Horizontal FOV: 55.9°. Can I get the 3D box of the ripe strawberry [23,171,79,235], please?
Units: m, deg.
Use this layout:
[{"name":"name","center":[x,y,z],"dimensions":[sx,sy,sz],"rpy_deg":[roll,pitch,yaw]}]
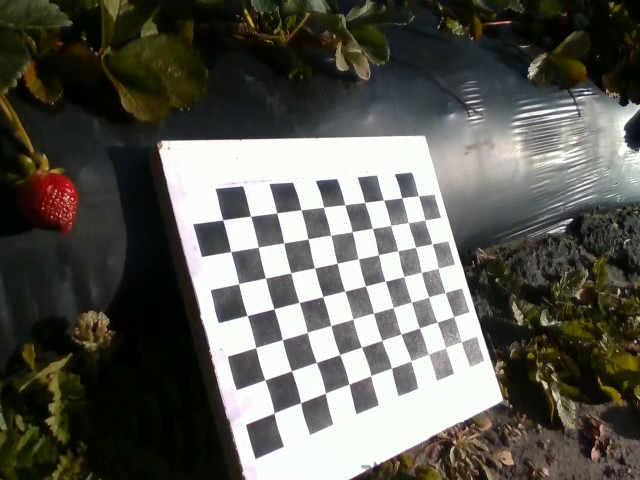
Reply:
[{"name":"ripe strawberry","center":[-0.158,-0.019,0.364],"dimensions":[0.040,0.044,0.036],"rpy_deg":[-34,-6,-38]}]
